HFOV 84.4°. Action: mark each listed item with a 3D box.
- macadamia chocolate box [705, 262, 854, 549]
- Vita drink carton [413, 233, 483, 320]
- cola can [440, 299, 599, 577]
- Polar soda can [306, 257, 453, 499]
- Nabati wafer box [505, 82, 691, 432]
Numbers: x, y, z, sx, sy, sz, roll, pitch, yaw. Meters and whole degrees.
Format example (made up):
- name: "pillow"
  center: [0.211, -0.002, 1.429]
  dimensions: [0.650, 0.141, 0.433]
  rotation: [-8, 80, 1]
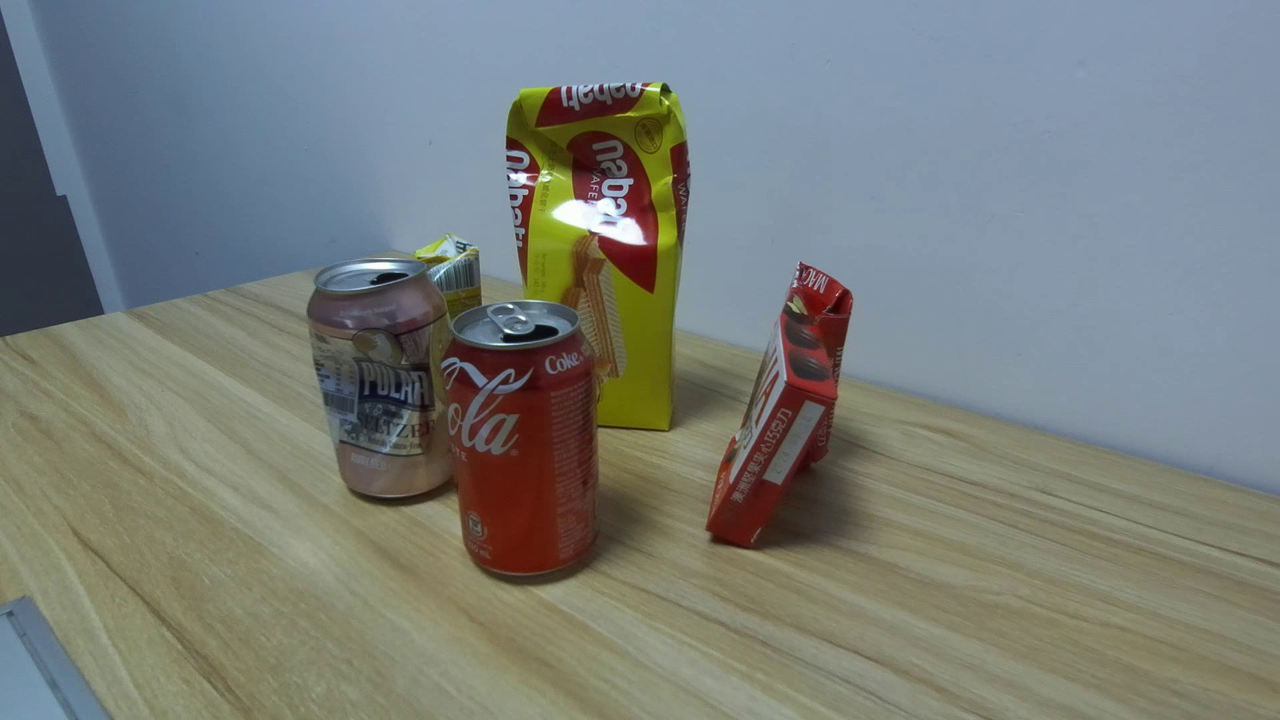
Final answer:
- name: "macadamia chocolate box"
  center: [0.074, 0.020, 0.368]
  dimensions: [0.056, 0.112, 0.126]
  rotation: [9, 24, 16]
- name: "Vita drink carton"
  center: [-0.136, -0.026, 0.478]
  dimensions: [0.047, 0.109, 0.071]
  rotation: [-11, 24, -31]
- name: "cola can"
  center: [-0.055, 0.040, 0.339]
  dimensions: [0.068, 0.120, 0.068]
  rotation: [-1, 14, 1]
- name: "Polar soda can"
  center: [-0.134, 0.011, 0.379]
  dimensions: [0.067, 0.122, 0.074]
  rotation: [-15, 27, -29]
- name: "Nabati wafer box"
  center: [-0.024, -0.057, 0.430]
  dimensions: [0.113, 0.205, 0.042]
  rotation: [2, 21, 8]
